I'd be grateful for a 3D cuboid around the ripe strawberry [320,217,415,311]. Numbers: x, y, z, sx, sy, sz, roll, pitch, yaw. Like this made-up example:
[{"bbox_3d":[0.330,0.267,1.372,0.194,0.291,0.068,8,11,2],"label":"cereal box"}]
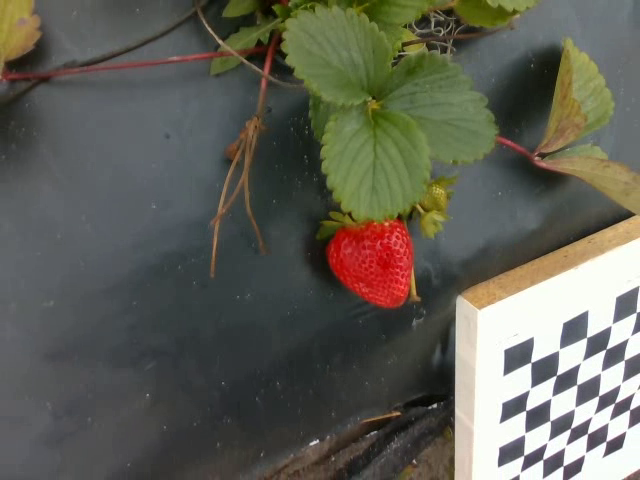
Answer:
[{"bbox_3d":[0.009,0.004,0.087,0.018,0.017,0.014,-20,-10,-30],"label":"ripe strawberry"}]
